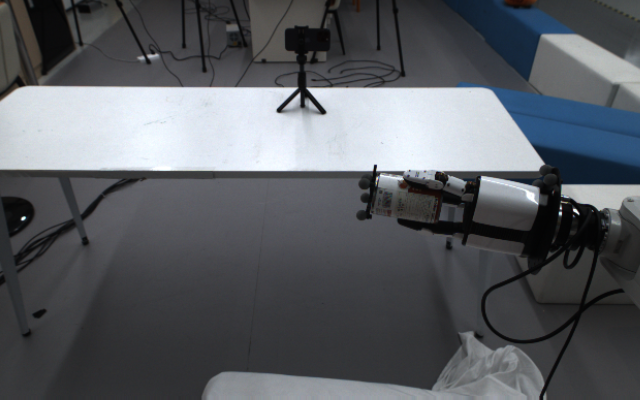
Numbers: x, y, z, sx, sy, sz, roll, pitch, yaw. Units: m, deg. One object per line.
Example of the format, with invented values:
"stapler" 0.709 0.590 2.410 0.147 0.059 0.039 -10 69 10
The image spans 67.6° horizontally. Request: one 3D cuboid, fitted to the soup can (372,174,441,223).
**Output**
"soup can" 0.137 -0.003 0.748 0.101 0.067 0.067 9 35 9
